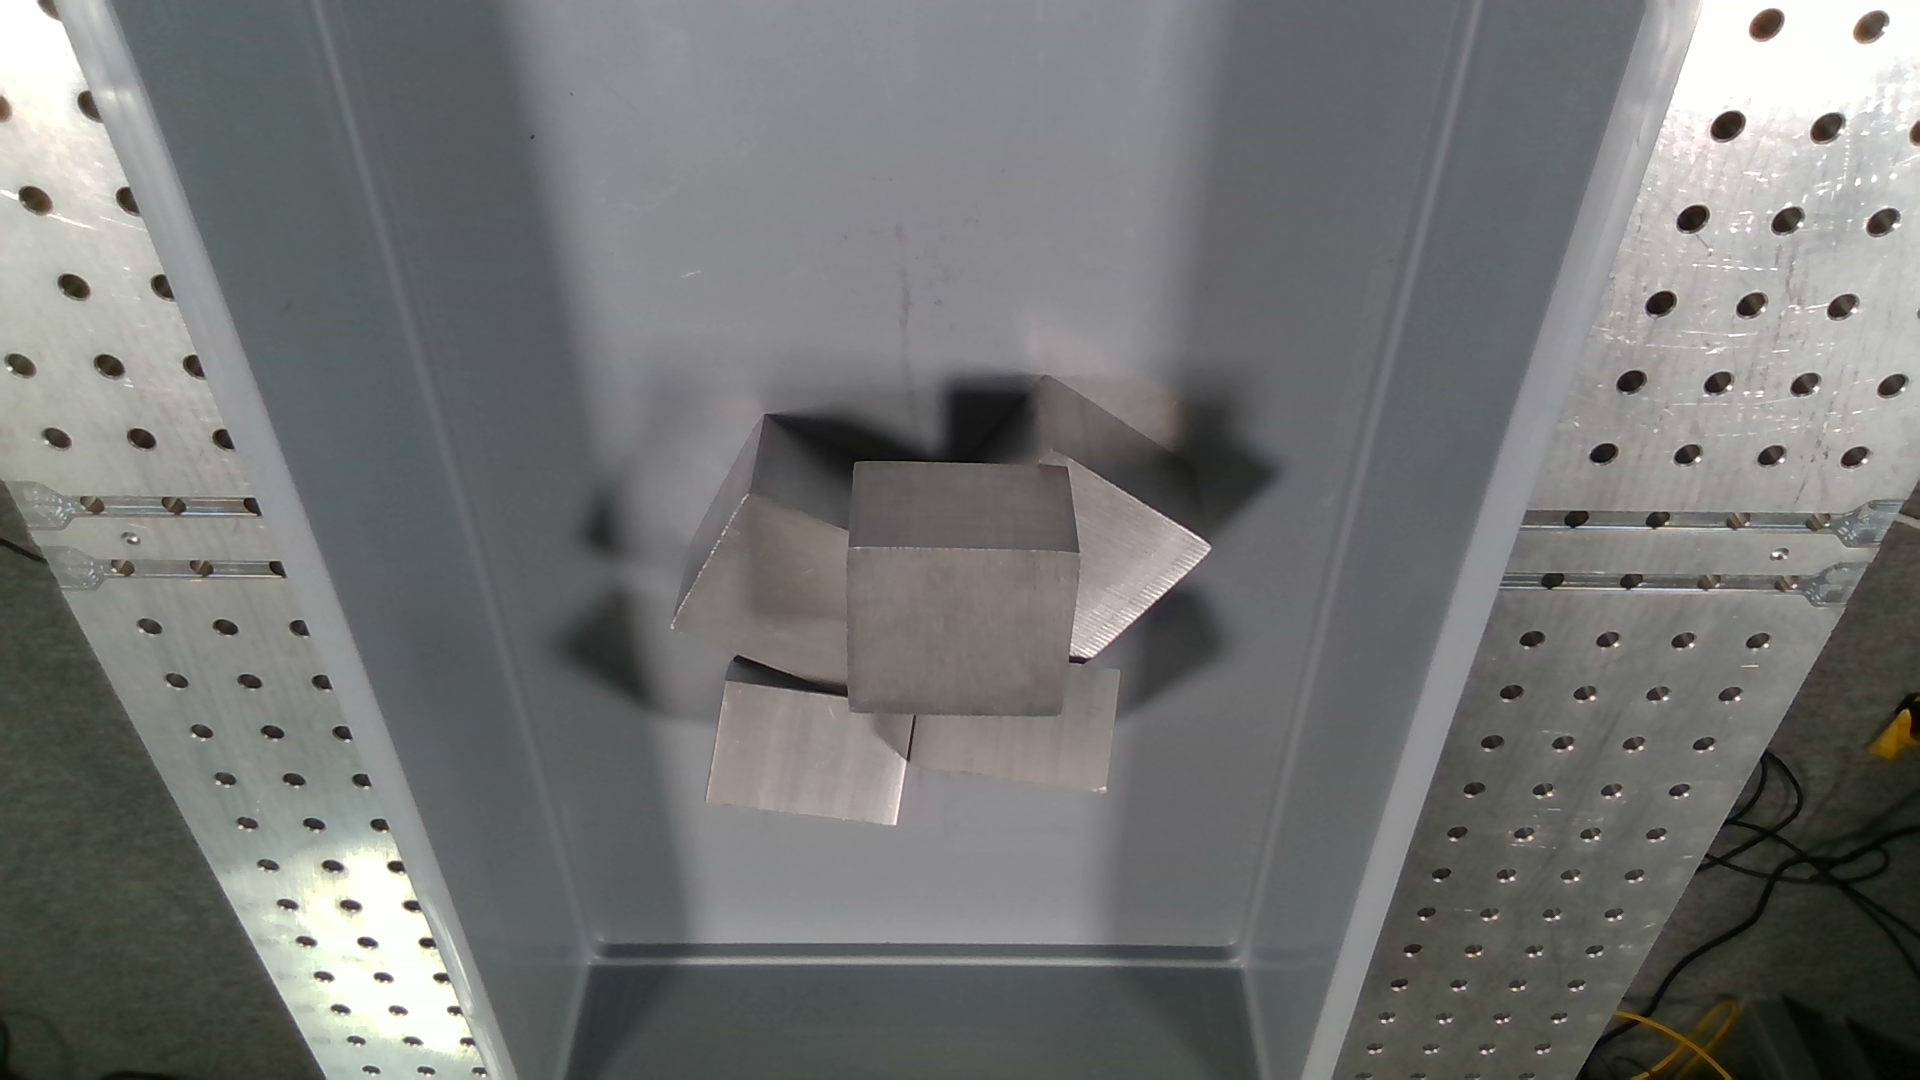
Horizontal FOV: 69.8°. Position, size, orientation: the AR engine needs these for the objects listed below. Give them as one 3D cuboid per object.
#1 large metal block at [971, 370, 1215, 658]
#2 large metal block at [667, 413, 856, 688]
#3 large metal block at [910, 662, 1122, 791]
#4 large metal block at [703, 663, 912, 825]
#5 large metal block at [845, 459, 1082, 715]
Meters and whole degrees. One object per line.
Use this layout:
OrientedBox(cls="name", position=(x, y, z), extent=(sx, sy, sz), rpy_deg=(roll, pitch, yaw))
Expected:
OrientedBox(cls="large metal block", position=(0.042, -0.008, 0.556), extent=(0.080, 0.050, 0.080), rpy_deg=(29, 124, -22))
OrientedBox(cls="large metal block", position=(-0.063, 0.007, 0.564), extent=(0.080, 0.050, 0.080), rpy_deg=(24, 126, -19))
OrientedBox(cls="large metal block", position=(0.018, 0.075, 0.597), extent=(0.080, 0.050, 0.080), rpy_deg=(9, 174, -7))
OrientedBox(cls="large metal block", position=(-0.067, 0.087, 0.606), extent=(0.080, 0.080, 0.050), rpy_deg=(9, 90, -8))
OrientedBox(cls="large metal block", position=(-0.001, 0.018, 0.510), extent=(0.080, 0.050, 0.080), rpy_deg=(1, 129, -3))
